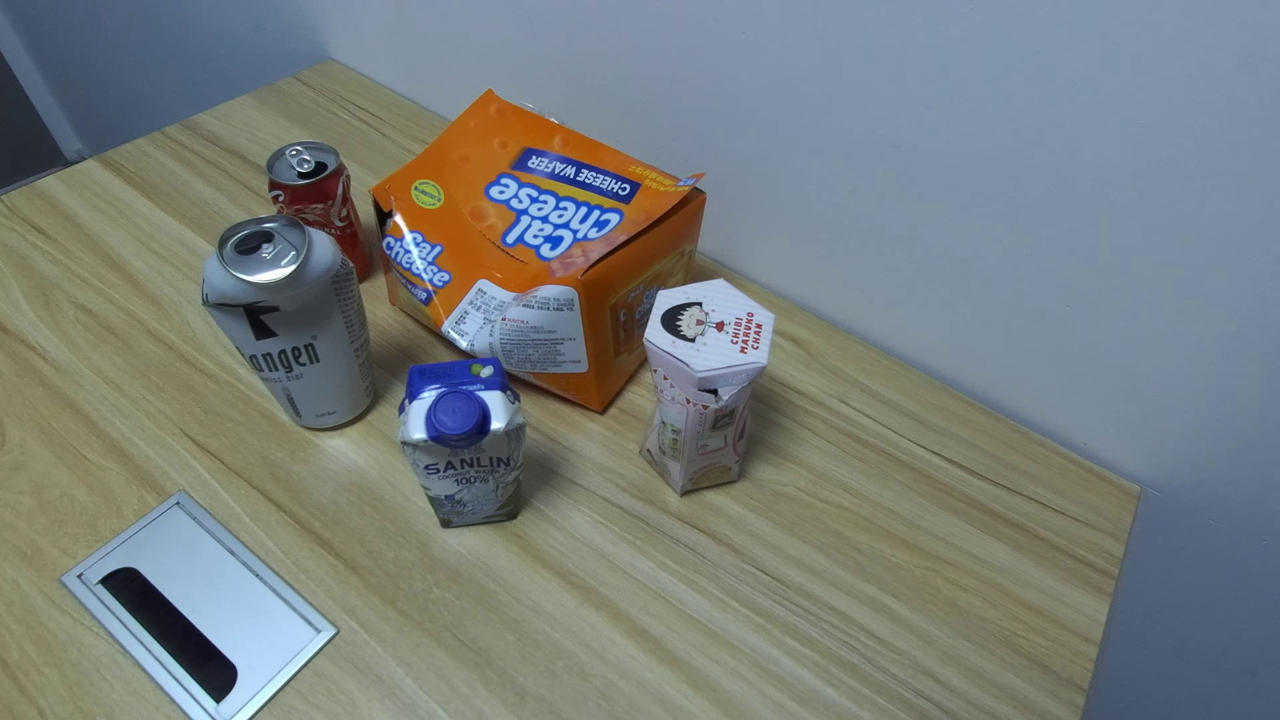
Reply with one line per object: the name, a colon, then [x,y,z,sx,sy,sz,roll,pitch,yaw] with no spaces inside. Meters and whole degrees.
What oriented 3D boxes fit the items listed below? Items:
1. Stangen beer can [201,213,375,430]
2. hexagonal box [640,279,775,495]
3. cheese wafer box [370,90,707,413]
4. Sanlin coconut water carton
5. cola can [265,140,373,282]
Stangen beer can: [-0.231,-0.021,0.480,0.065,0.162,0.077,24,53,13]
hexagonal box: [0.041,0.023,0.493,0.091,0.134,0.090,-27,54,-24]
cheese wafer box: [-0.087,-0.085,0.565,0.218,0.145,0.191,27,53,16]
Sanlin coconut water carton: [-0.111,0.054,0.451,0.078,0.142,0.057,-7,56,-11]
cola can: [-0.269,-0.123,0.593,0.066,0.117,0.066,1,53,-9]
